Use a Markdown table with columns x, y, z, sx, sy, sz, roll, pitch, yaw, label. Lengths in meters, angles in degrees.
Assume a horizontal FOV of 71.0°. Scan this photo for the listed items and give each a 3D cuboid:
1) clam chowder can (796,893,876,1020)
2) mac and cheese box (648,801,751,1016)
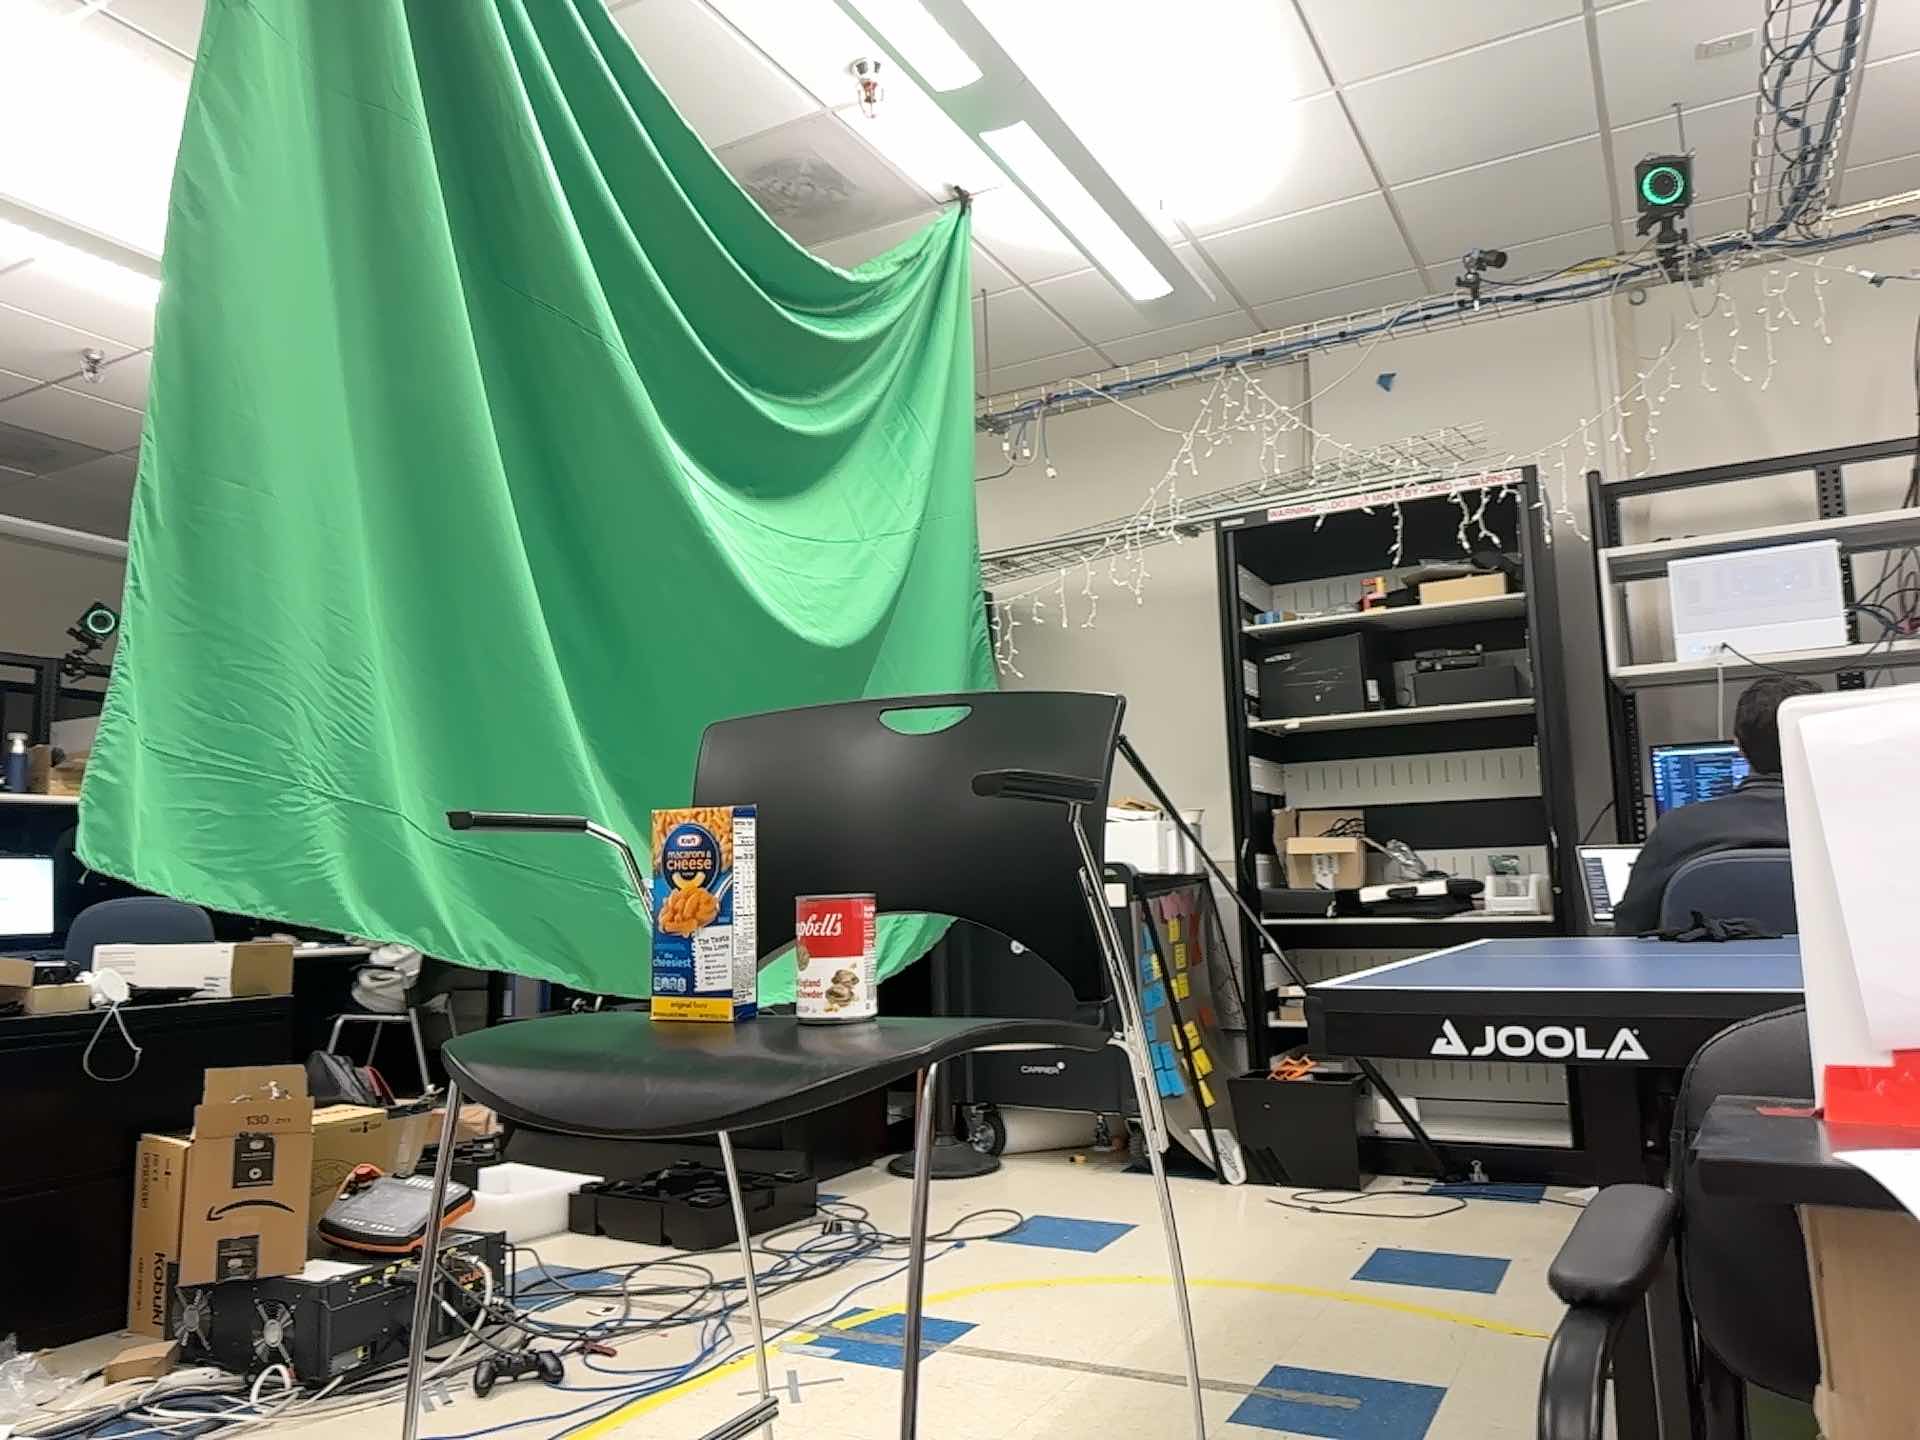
| x | y | z | sx | sy | sz | roll | pitch | yaw | label |
| --- | --- | --- | --- | --- | --- | --- | --- | --- | --- |
| -0.104 | 0.198 | 1.134 | 0.068 | 0.102 | 0.068 | -1 | -7 | 0 | clam chowder can |
| -0.231 | 0.165 | 1.189 | 0.088 | 0.181 | 0.035 | -5 | -6 | 33 | mac and cheese box |
